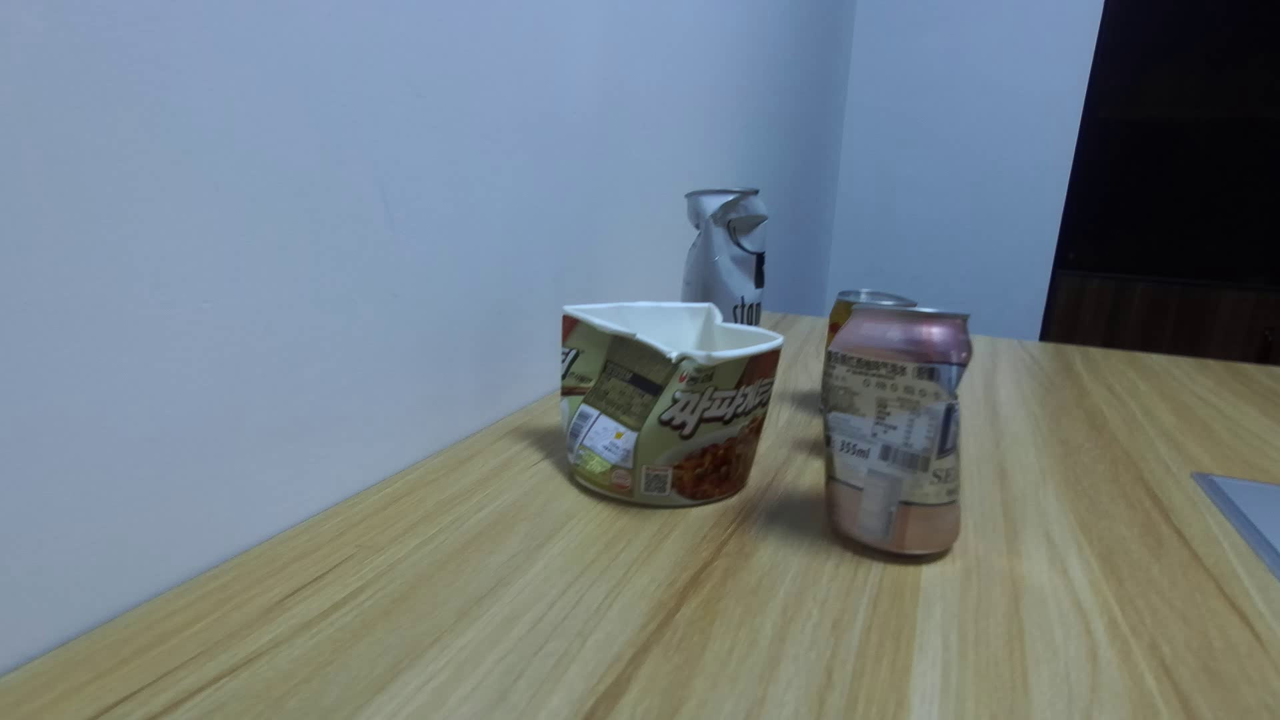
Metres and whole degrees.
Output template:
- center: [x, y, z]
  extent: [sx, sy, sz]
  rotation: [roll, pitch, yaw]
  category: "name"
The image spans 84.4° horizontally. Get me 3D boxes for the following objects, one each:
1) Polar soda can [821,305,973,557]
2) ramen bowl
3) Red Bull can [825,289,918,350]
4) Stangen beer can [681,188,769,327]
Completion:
- center: [0.130, 0.032, 0.356]
  extent: [0.066, 0.121, 0.071]
  rotation: [7, 13, 34]
  category: "Polar soda can"
- center: [0.016, 0.023, 0.414]
  extent: [0.112, 0.093, 0.128]
  rotation: [-2, 17, -18]
  category: "ramen bowl"
- center: [0.176, -0.005, 0.550]
  extent: [0.072, 0.092, 0.072]
  rotation: [6, 15, -1]
  category: "Red Bull can"
- center: [0.060, -0.047, 0.540]
  extent: [0.066, 0.166, 0.065]
  rotation: [-8, 19, -27]
  category: "Stangen beer can"
